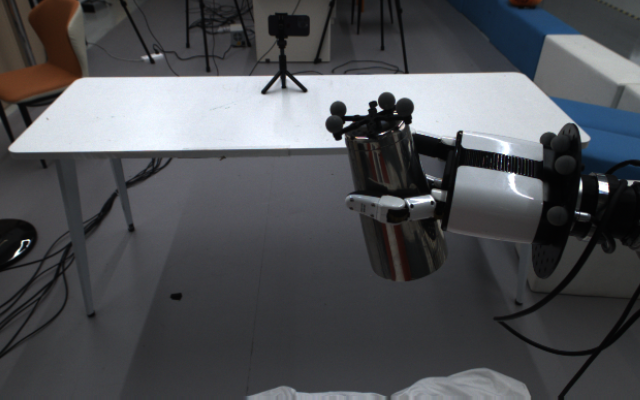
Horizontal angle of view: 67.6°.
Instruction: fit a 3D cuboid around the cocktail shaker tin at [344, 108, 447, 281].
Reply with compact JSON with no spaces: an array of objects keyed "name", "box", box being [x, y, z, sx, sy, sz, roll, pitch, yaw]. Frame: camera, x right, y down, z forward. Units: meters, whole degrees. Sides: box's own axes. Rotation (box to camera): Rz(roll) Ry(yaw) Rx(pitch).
[{"name":"cocktail shaker tin","box":[0.081,-0.005,0.532,0.093,0.170,0.093,-15,28,8]}]
